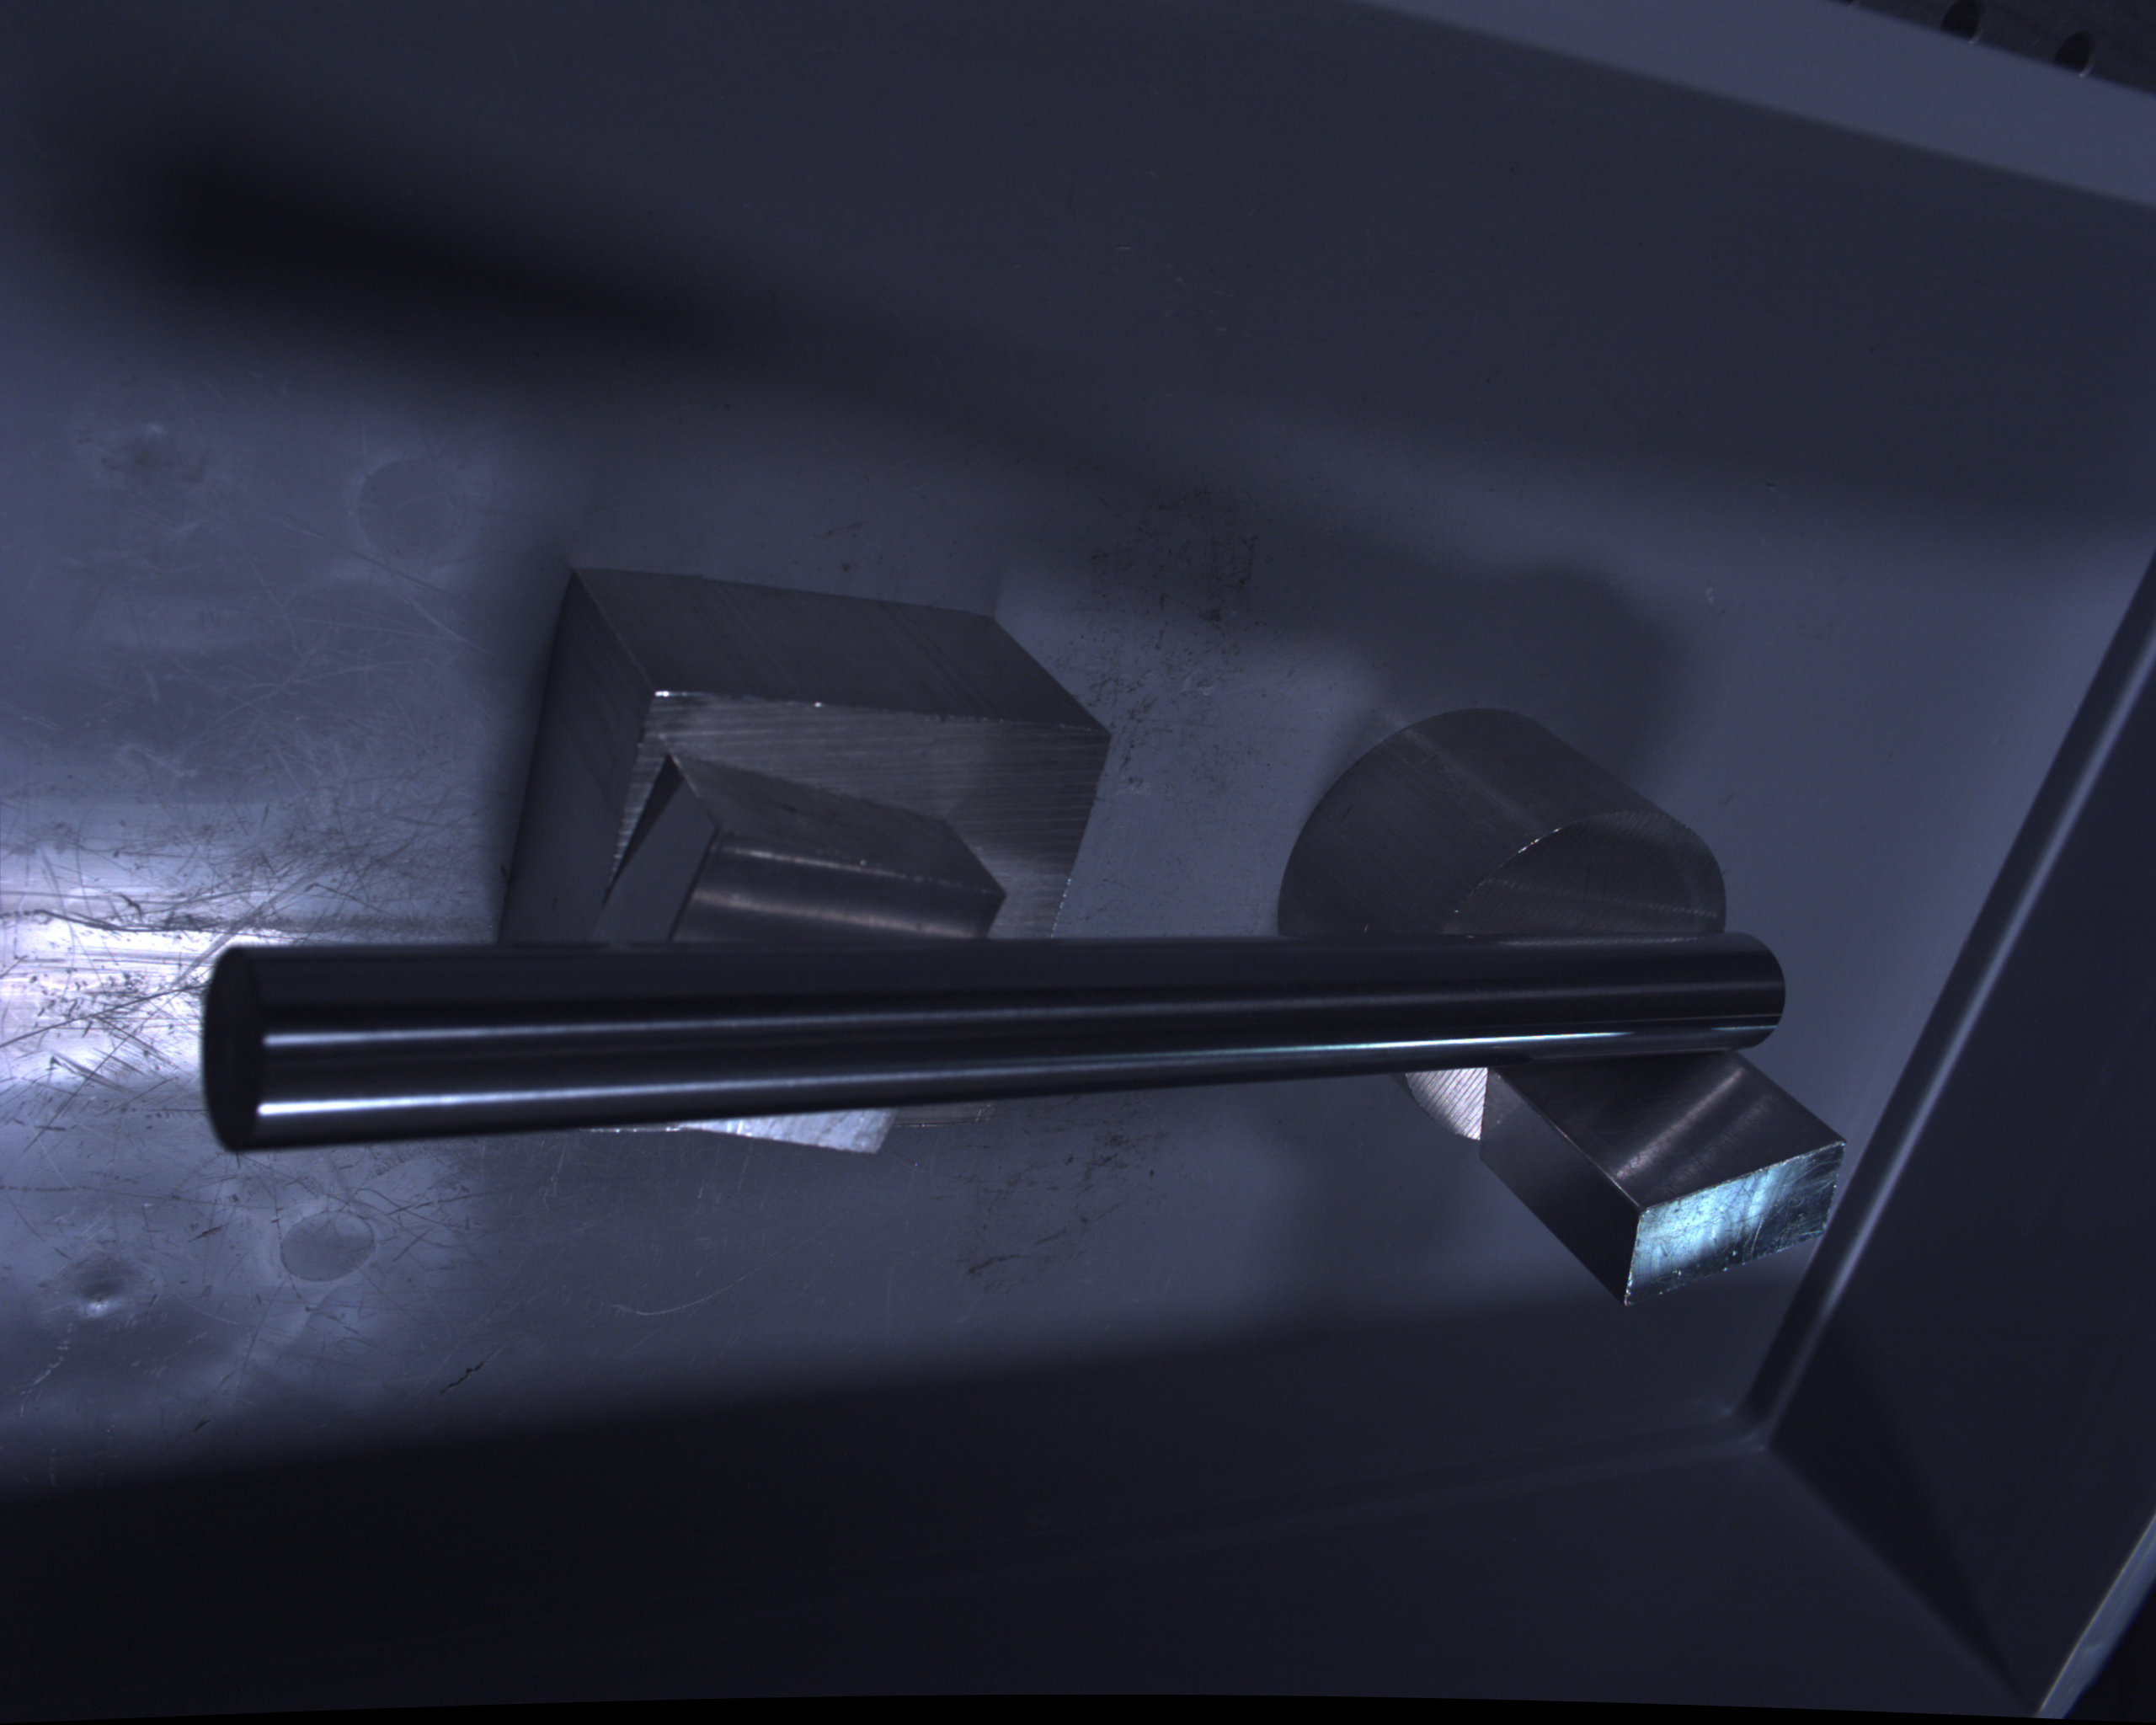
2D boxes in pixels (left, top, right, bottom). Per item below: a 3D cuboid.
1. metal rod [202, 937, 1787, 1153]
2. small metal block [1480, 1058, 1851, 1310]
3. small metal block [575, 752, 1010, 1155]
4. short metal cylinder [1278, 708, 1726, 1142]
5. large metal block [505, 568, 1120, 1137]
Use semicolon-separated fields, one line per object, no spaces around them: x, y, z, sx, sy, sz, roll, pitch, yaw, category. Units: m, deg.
0.018;0.025;0.342;0.302;0.025;0.025;1;118;-38;metal rod
0.119;0.059;0.428;0.050;0.050;0.025;-14;124;-21;small metal block
-0.047;0.015;0.327;0.050;0.025;0.050;14;111;-34;small metal block
0.091;0.013;0.450;0.081;0.050;0.079;-14;125;-21;short metal cylinder
-0.049;-0.001;0.363;0.081;0.050;0.079;3;117;-30;large metal block
